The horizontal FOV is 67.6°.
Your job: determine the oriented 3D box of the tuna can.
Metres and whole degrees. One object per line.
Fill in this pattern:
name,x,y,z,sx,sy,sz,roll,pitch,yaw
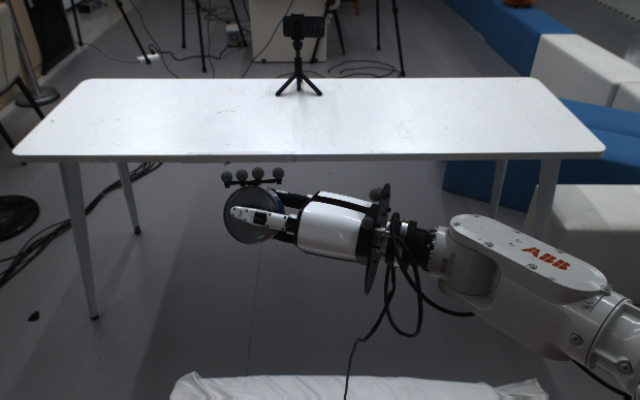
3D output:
tuna can,-0.091,0.022,0.714,0.085,0.085,0.034,10,2,11
